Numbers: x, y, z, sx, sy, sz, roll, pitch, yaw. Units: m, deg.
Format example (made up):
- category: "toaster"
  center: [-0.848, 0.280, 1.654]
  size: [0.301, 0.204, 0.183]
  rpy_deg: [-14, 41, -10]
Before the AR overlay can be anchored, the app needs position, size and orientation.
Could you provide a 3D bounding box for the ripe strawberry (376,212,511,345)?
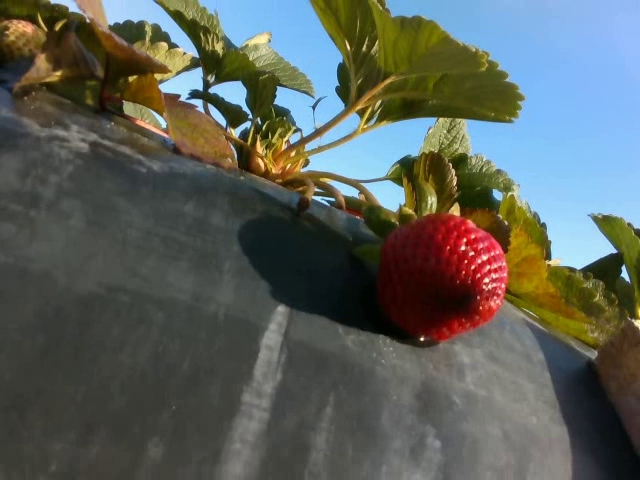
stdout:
- category: "ripe strawberry"
  center: [0.033, 0.010, 0.156]
  size: [0.040, 0.037, 0.044]
  rpy_deg: [20, 17, -28]
